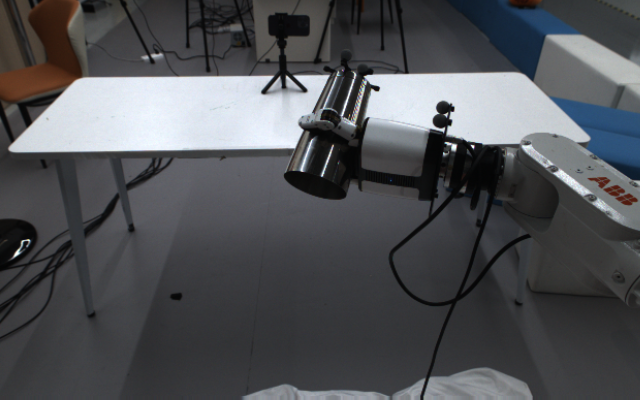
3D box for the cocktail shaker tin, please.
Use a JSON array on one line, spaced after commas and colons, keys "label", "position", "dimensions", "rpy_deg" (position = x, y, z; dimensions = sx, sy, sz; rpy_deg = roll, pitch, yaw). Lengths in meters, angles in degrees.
[{"label": "cocktail shaker tin", "position": [0.018, -0.096, 0.692], "dimensions": [0.093, 0.093, 0.170], "rpy_deg": [14, 73, 17]}]
